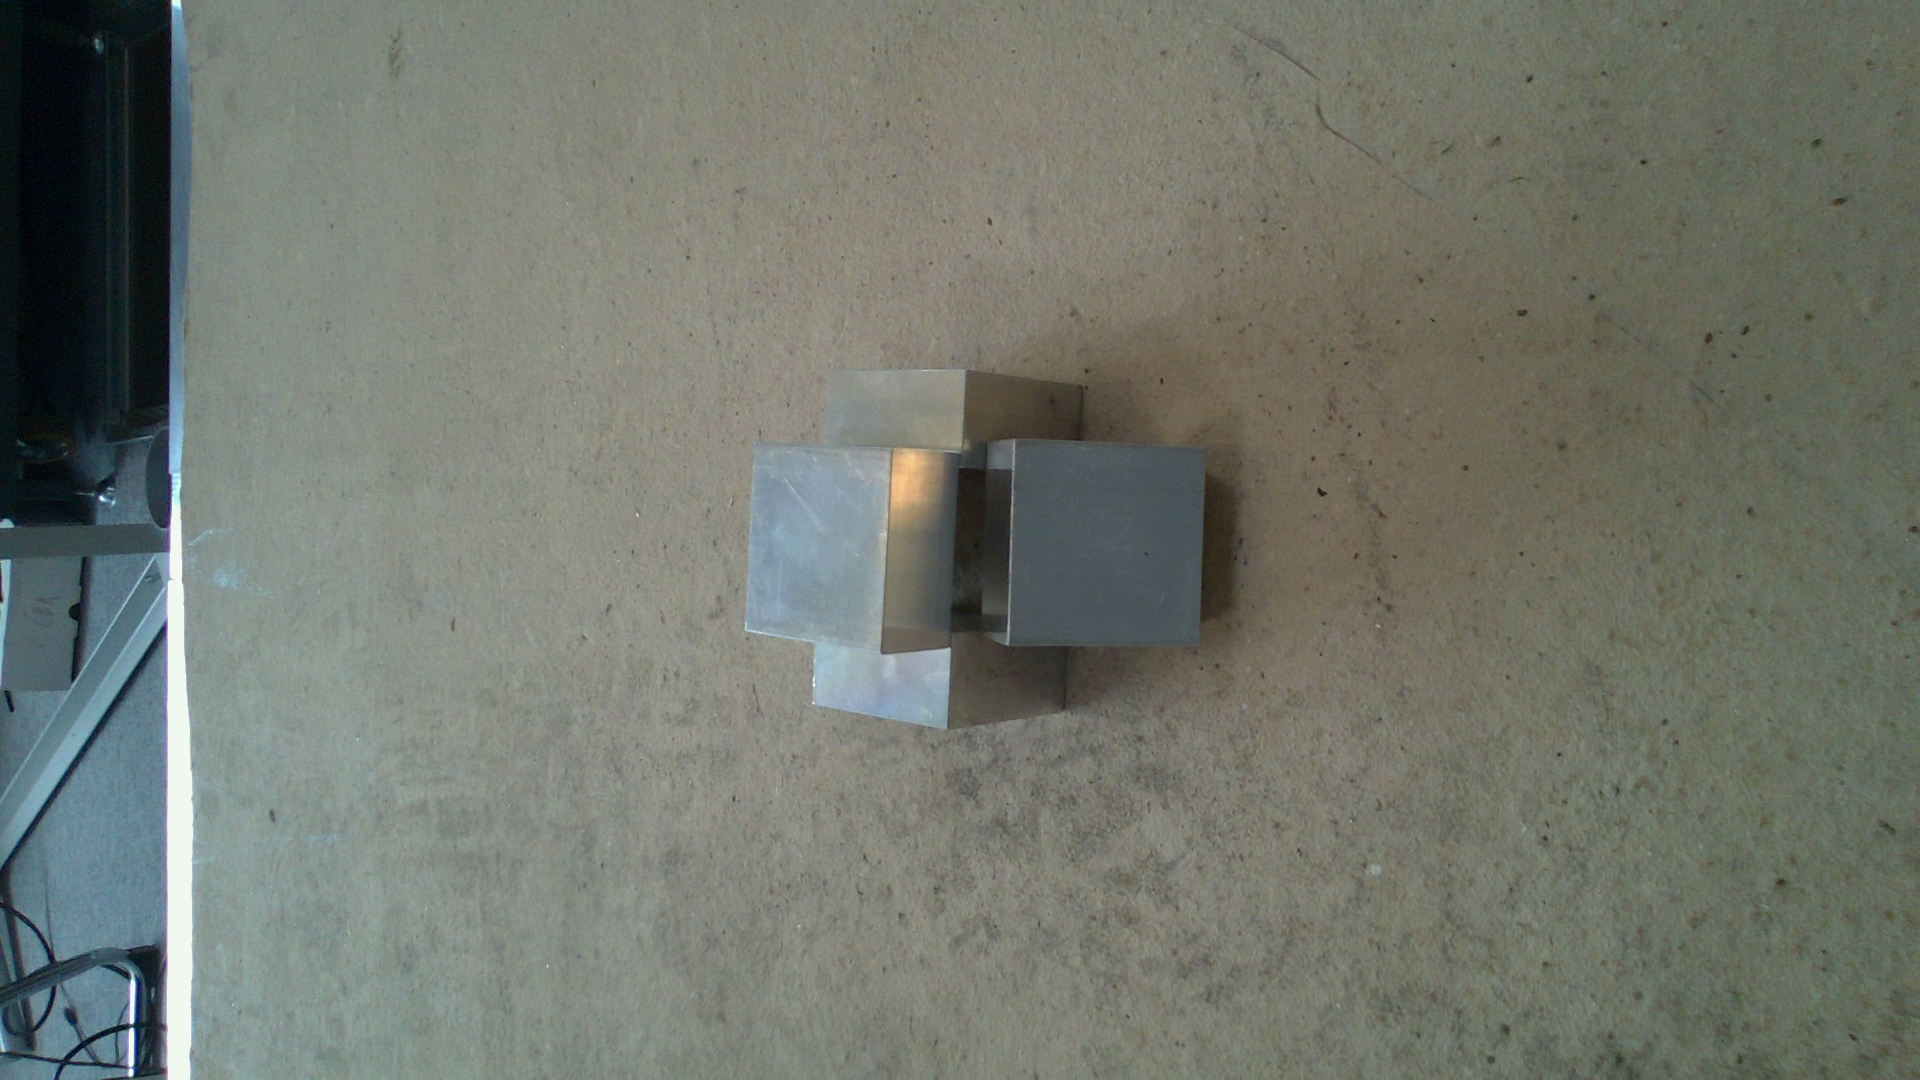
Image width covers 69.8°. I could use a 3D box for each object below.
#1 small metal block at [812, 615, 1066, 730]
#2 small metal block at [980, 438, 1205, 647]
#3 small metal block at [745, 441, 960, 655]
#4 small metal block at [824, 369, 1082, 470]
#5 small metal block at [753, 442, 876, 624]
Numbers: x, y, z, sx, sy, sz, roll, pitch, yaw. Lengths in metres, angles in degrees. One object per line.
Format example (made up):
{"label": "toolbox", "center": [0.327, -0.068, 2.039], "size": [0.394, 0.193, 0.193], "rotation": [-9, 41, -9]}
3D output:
{"label": "small metal block", "center": [-0.005, 0.034, 0.384], "size": [0.050, 0.050, 0.025], "rotation": [4, 93, 40]}
{"label": "small metal block", "center": [0.033, 0.001, 0.348], "size": [0.025, 0.050, 0.050], "rotation": [-173, 84, -75]}
{"label": "small metal block", "center": [-0.028, 0.001, 0.354], "size": [0.050, 0.025, 0.050], "rotation": [5, 94, 40]}
{"label": "small metal block", "center": [-0.002, -0.033, 0.381], "size": [0.050, 0.050, 0.025], "rotation": [6, 94, 40]}
{"label": "small metal block", "center": [-0.043, -0.003, 0.412], "size": [0.025, 0.050, 0.050], "rotation": [3, 93, 5]}
